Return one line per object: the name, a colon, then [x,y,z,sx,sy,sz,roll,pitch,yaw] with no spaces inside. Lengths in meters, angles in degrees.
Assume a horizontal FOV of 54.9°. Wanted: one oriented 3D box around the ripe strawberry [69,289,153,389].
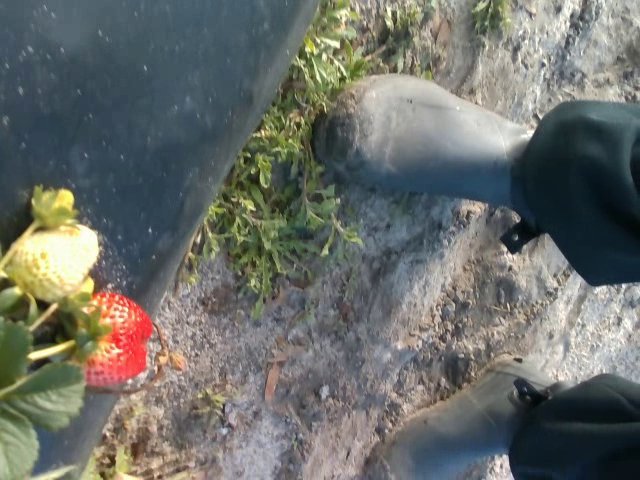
ripe strawberry: [-0.104,0.057,0.329,0.034,0.048,0.050,26,-2,22]
